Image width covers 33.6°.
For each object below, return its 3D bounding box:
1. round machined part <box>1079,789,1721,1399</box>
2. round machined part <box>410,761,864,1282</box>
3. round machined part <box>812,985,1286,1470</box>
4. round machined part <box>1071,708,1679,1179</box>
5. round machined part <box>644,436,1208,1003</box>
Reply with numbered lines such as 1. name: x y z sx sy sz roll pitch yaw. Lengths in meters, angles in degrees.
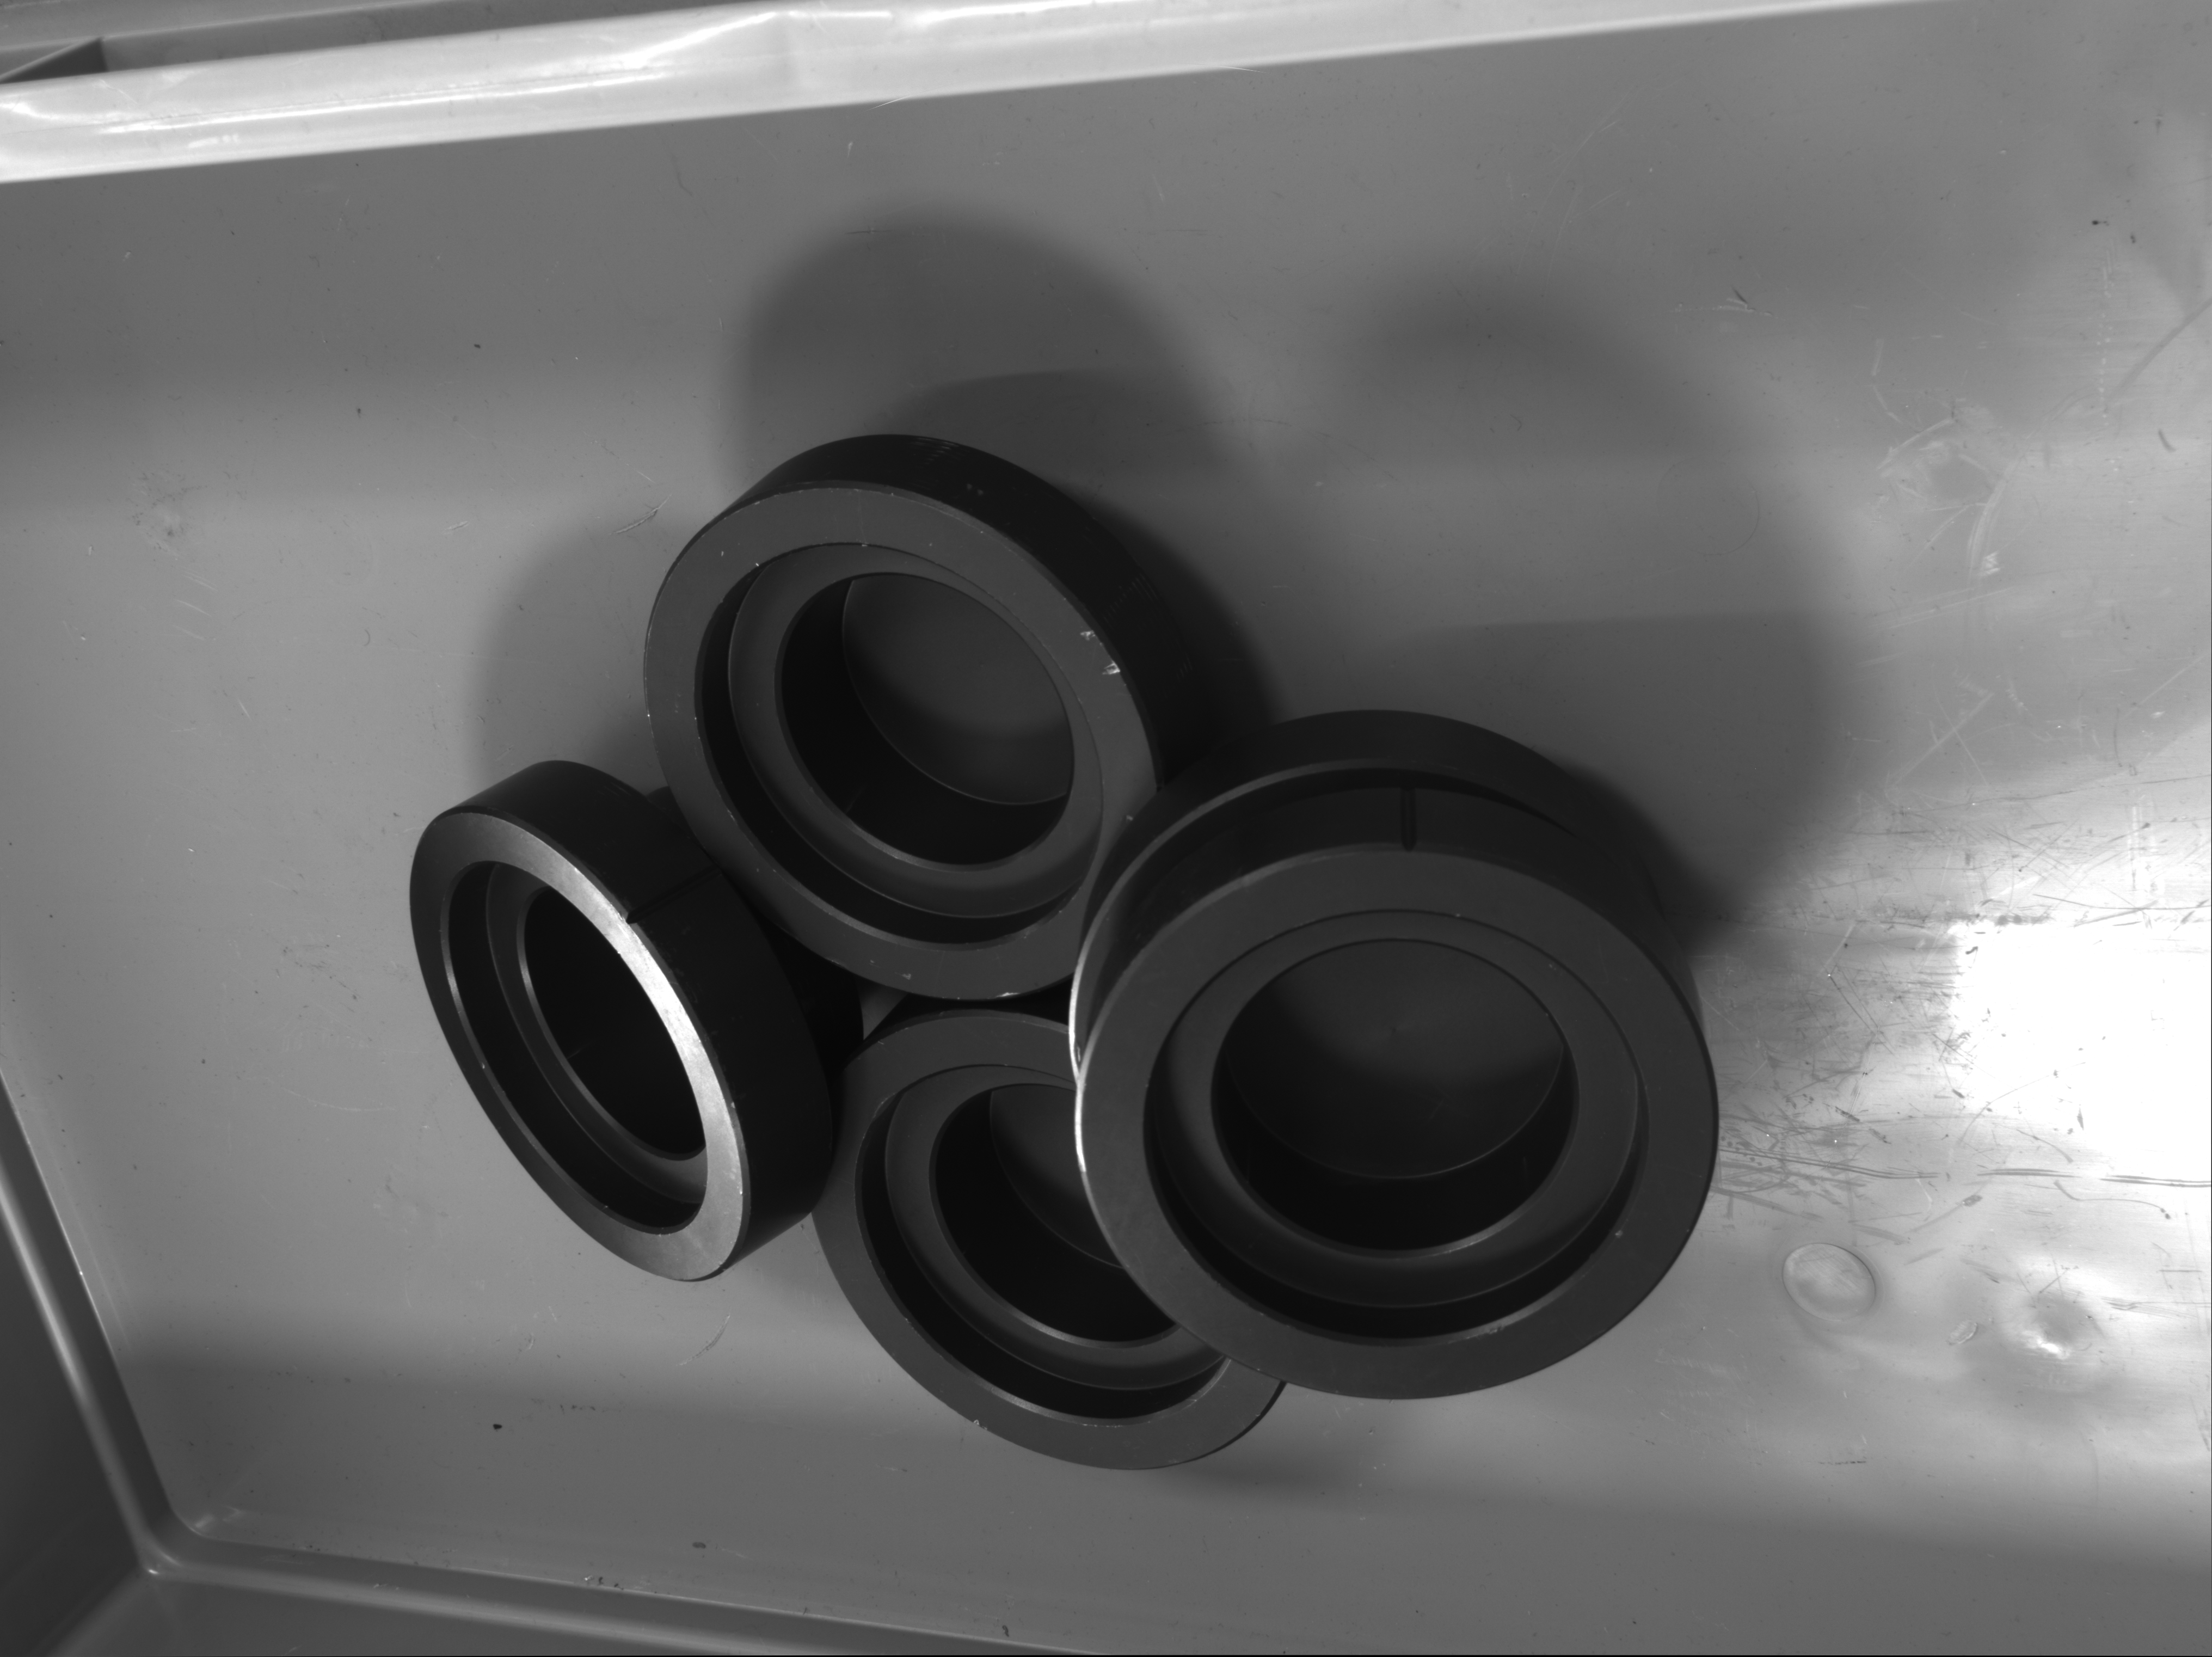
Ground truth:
1. round machined part: 0.046 0.038 0.578 0.098 0.042 0.098 1 116 3
2. round machined part: -0.083 0.031 0.680 0.098 0.042 0.098 31 138 34
3. round machined part: -0.002 0.065 0.670 0.098 0.042 0.098 13 124 21
4. round machined part: 0.044 0.025 0.608 0.098 0.042 0.098 1 115 3
5. round machined part: -0.027 -0.022 0.630 0.098 0.042 0.098 13 124 21
